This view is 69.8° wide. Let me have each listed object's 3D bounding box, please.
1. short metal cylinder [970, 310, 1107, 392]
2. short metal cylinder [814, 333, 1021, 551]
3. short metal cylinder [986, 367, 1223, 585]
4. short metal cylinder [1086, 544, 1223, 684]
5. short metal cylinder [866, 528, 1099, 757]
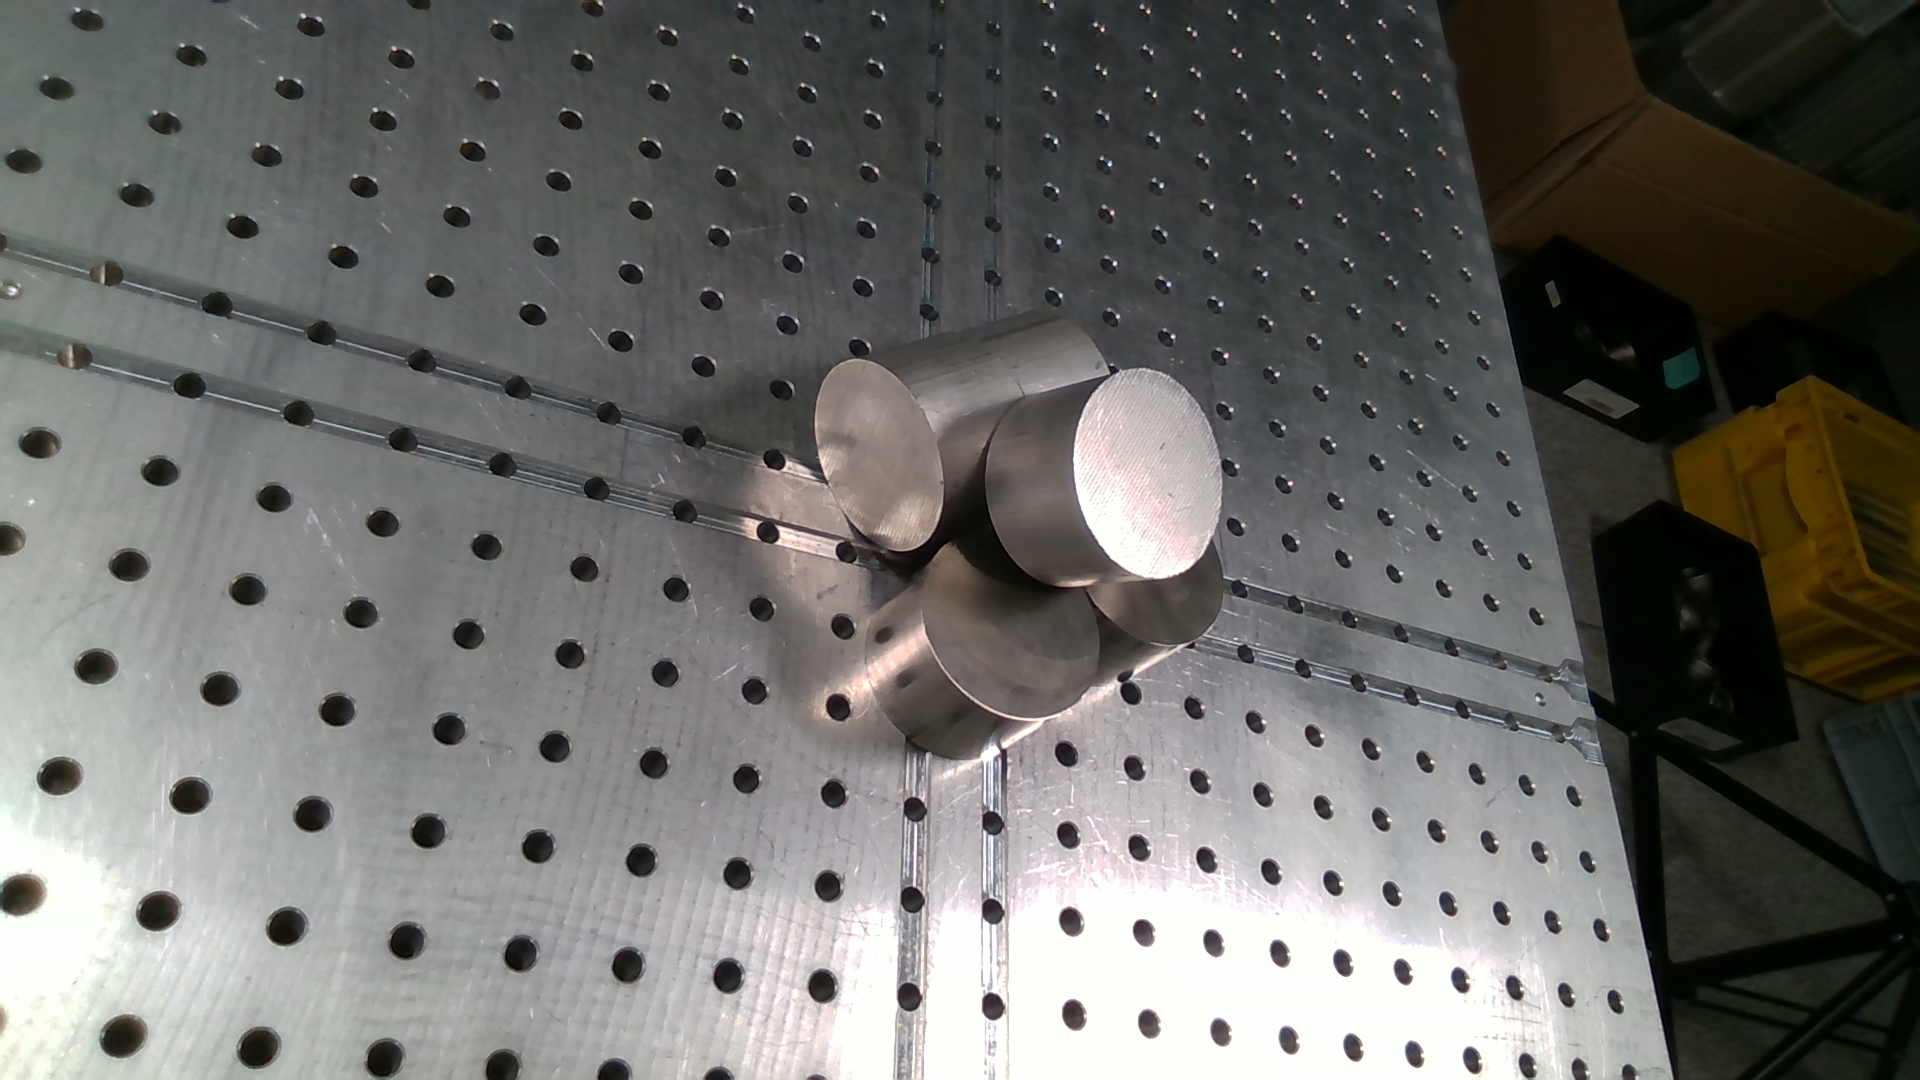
[{"bbox_3d":[0.022,-0.055,0.597,0.050,0.080,0.080,-23,79,-38],"label":"short metal cylinder"},{"bbox_3d":[-0.016,-0.041,0.566,0.050,0.080,0.080,-23,79,-38],"label":"short metal cylinder"},{"bbox_3d":[0.057,-0.023,0.537,0.080,0.050,0.080,5,82,-38],"label":"short metal cylinder"},{"bbox_3d":[0.068,0.018,0.604,0.080,0.050,0.080,14,59,-25],"label":"short metal cylinder"},{"bbox_3d":[0.009,0.042,0.555,0.080,0.050,0.080,14,59,-25],"label":"short metal cylinder"}]
